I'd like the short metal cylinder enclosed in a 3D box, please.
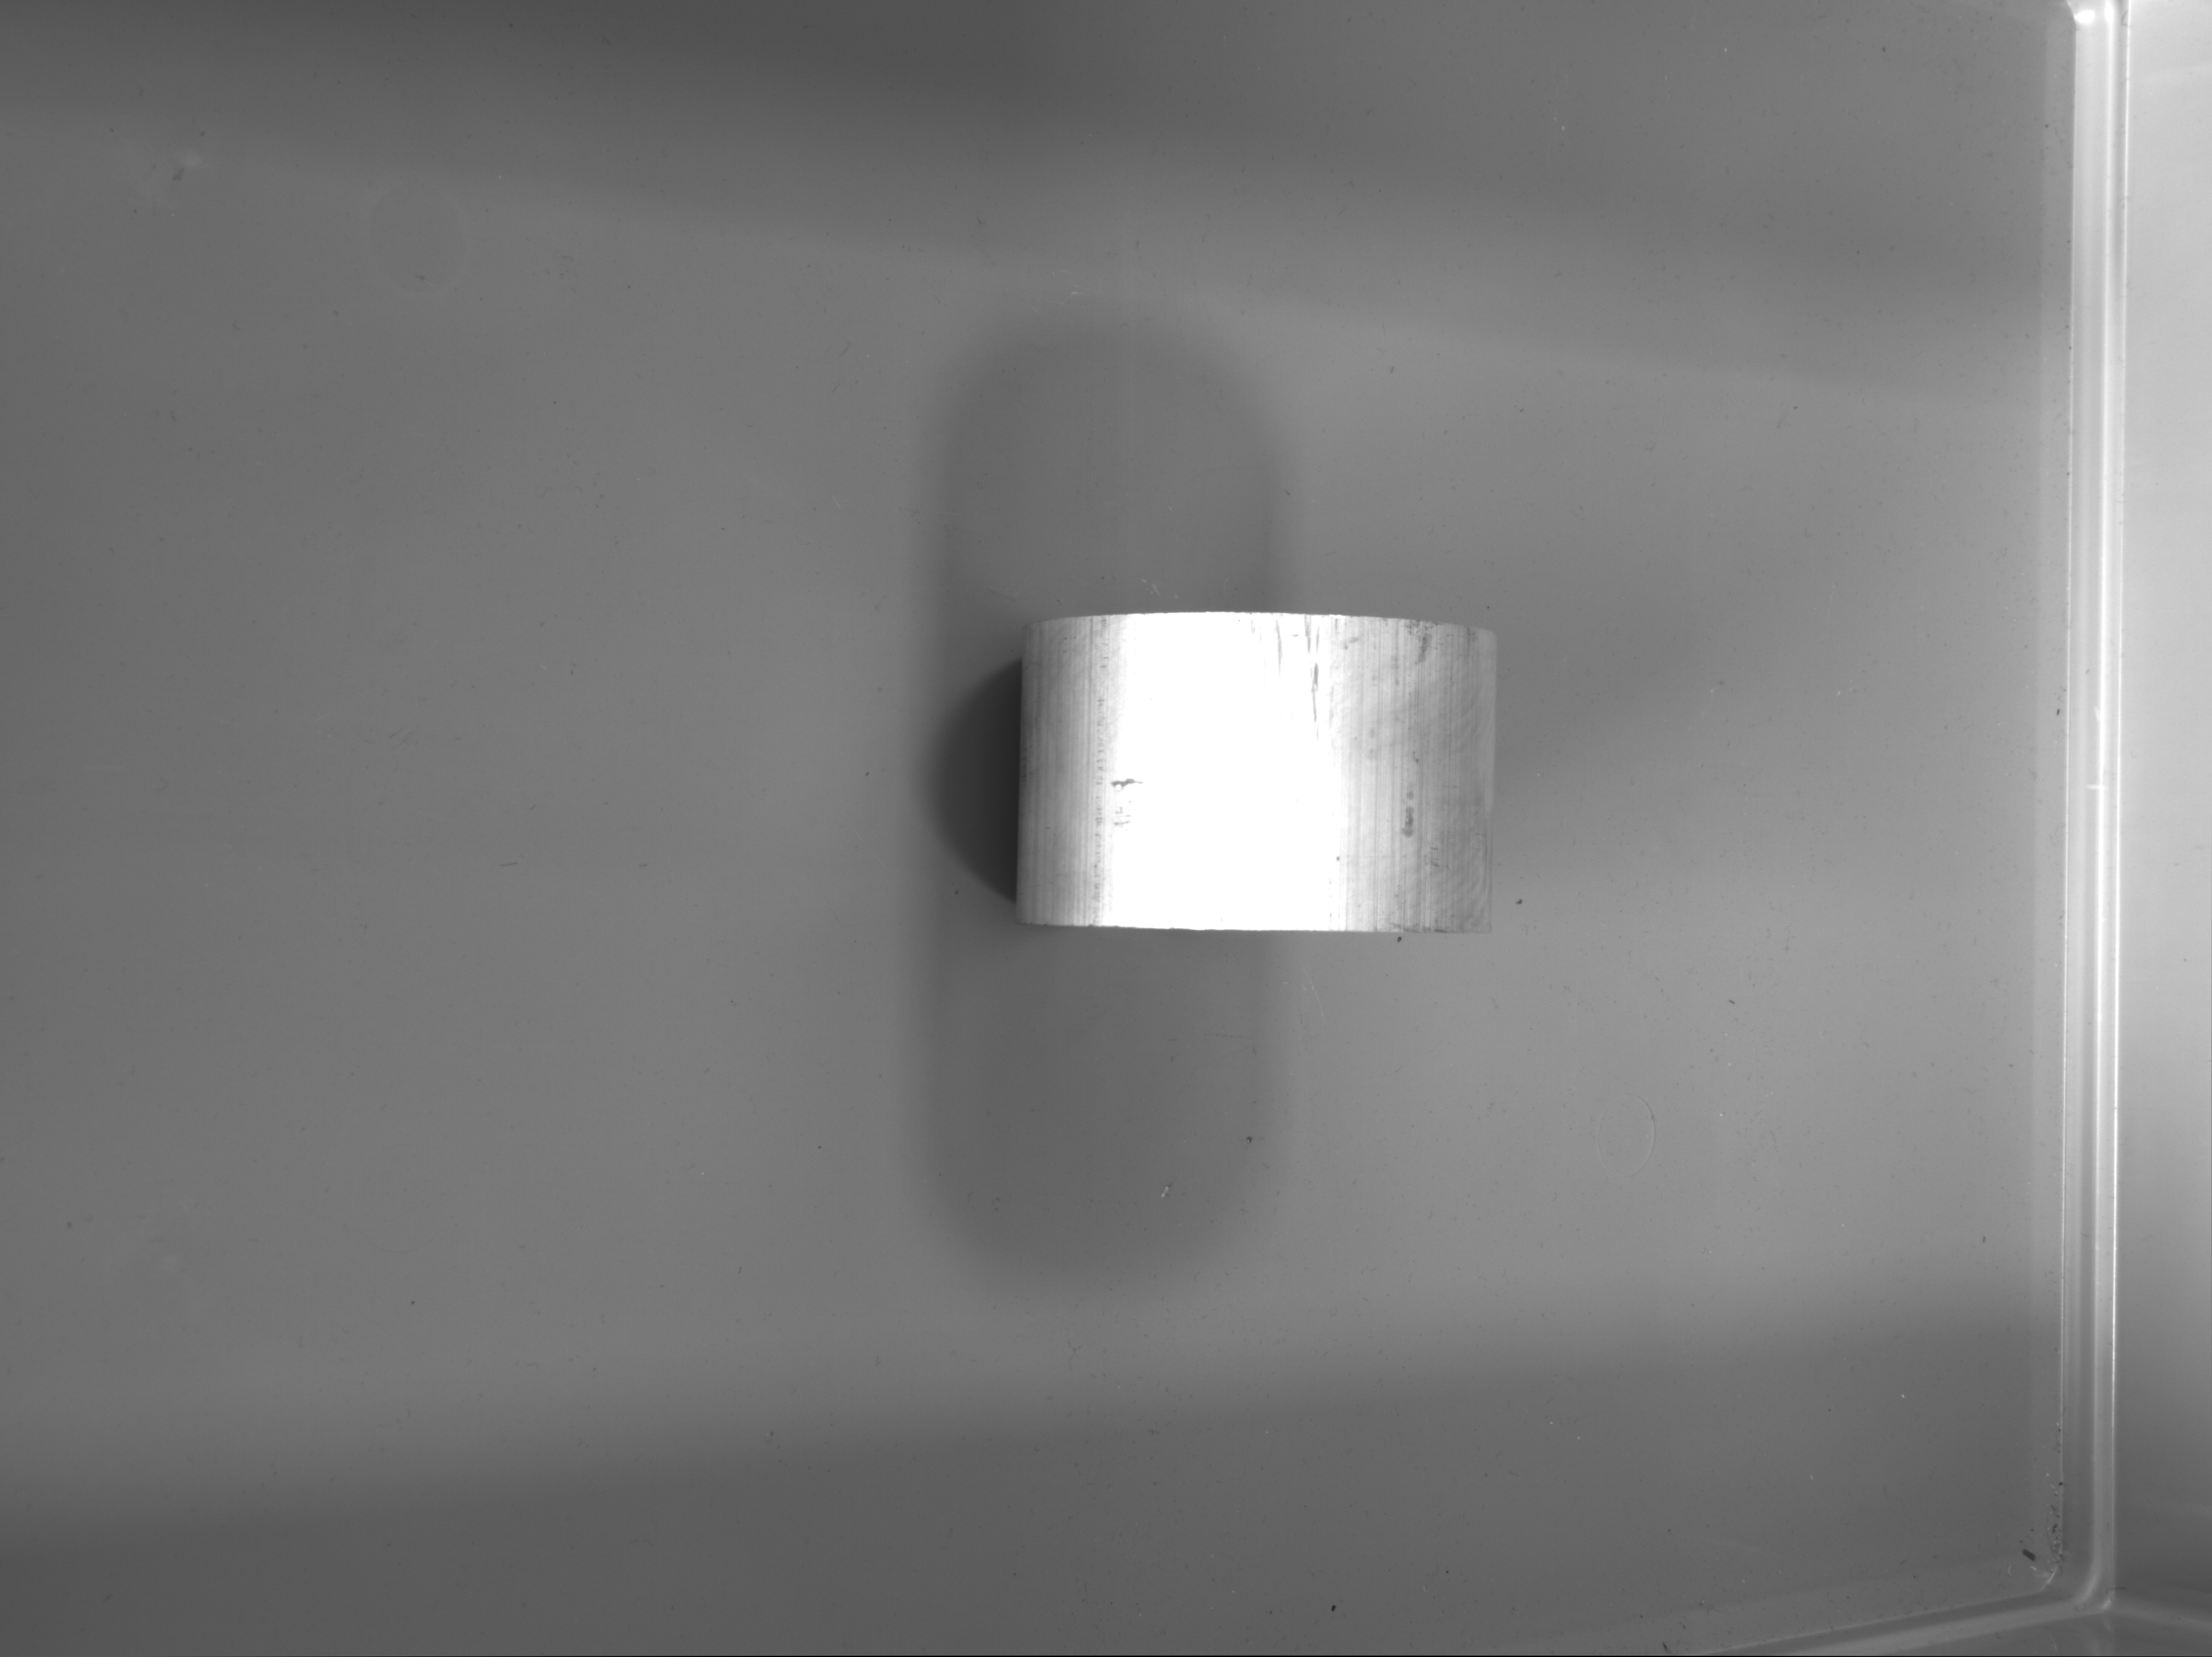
[{"bbox_3d":[0.025,-0.008,0.618,0.080,0.080,0.050,3,88,-40],"label":"short metal cylinder"}]
